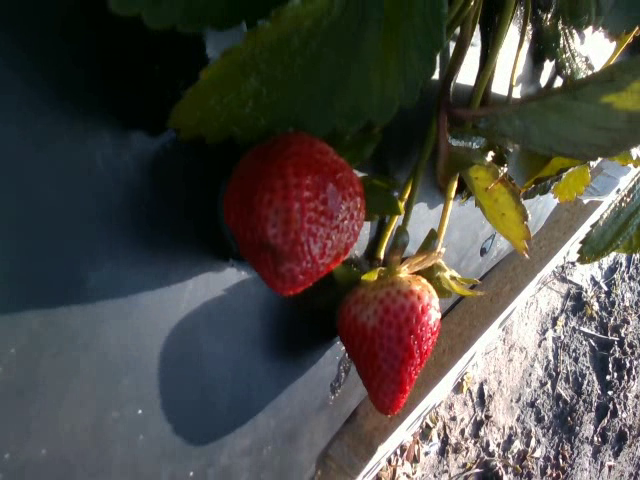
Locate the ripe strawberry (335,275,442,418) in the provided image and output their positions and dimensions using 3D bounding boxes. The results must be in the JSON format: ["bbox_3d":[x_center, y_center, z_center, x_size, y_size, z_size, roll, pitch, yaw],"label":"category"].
[{"bbox_3d":[0.028,0.037,0.212,0.038,0.053,0.043,-4,-7,21],"label":"ripe strawberry"}]

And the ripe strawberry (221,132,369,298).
[{"bbox_3d":[-0.007,-0.006,0.168,0.039,0.048,0.054,25,33,1],"label":"ripe strawberry"}]
